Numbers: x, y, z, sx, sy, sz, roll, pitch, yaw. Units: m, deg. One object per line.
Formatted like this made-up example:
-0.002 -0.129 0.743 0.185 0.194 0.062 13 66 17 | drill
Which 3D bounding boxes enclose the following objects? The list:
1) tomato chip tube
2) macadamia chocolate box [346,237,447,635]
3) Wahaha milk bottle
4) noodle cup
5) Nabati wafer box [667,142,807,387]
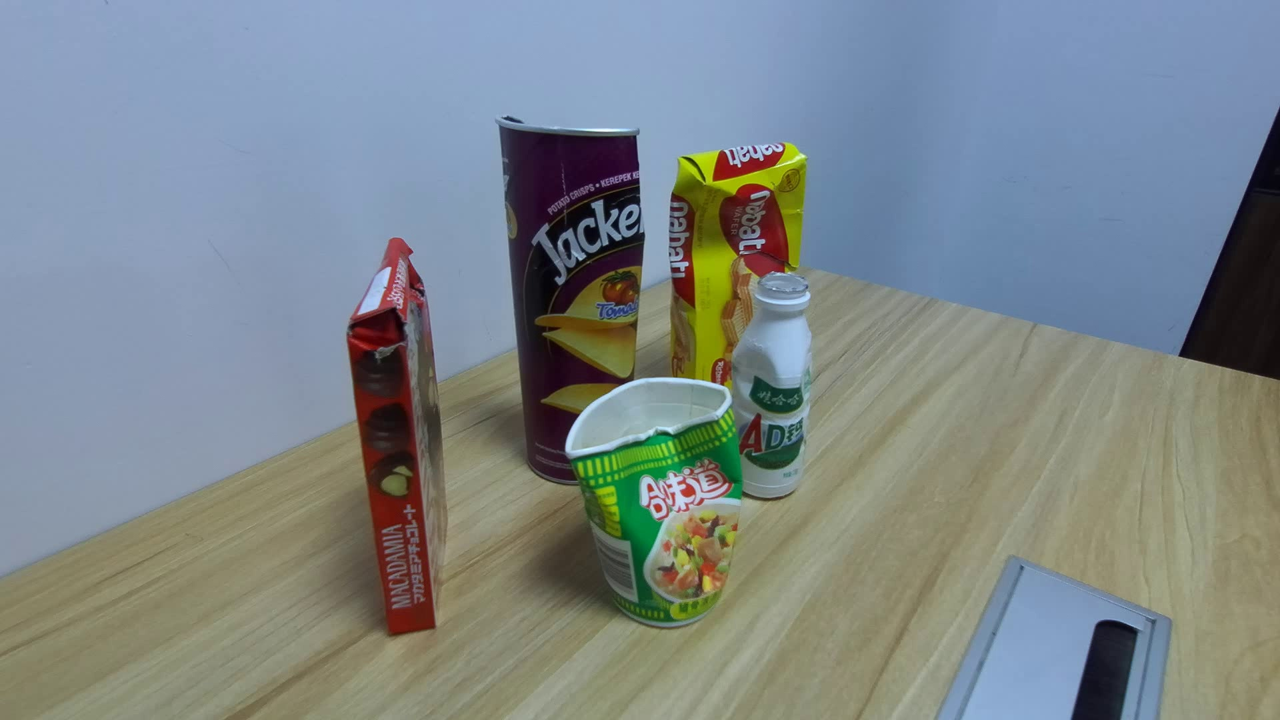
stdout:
-0.043 -0.035 0.470 0.076 0.235 0.077 -8 27 -18 | tomato chip tube
-0.122 0.040 0.372 0.027 0.187 0.102 -1 27 -11 | macadamia chocolate box
0.085 0.019 0.457 0.055 0.149 0.055 0 28 0 | Wahaha milk bottle
0.015 0.077 0.383 0.083 0.122 0.075 -8 20 4 | noodle cup
0.072 -0.063 0.557 0.107 0.204 0.042 -13 30 -26 | Nabati wafer box
